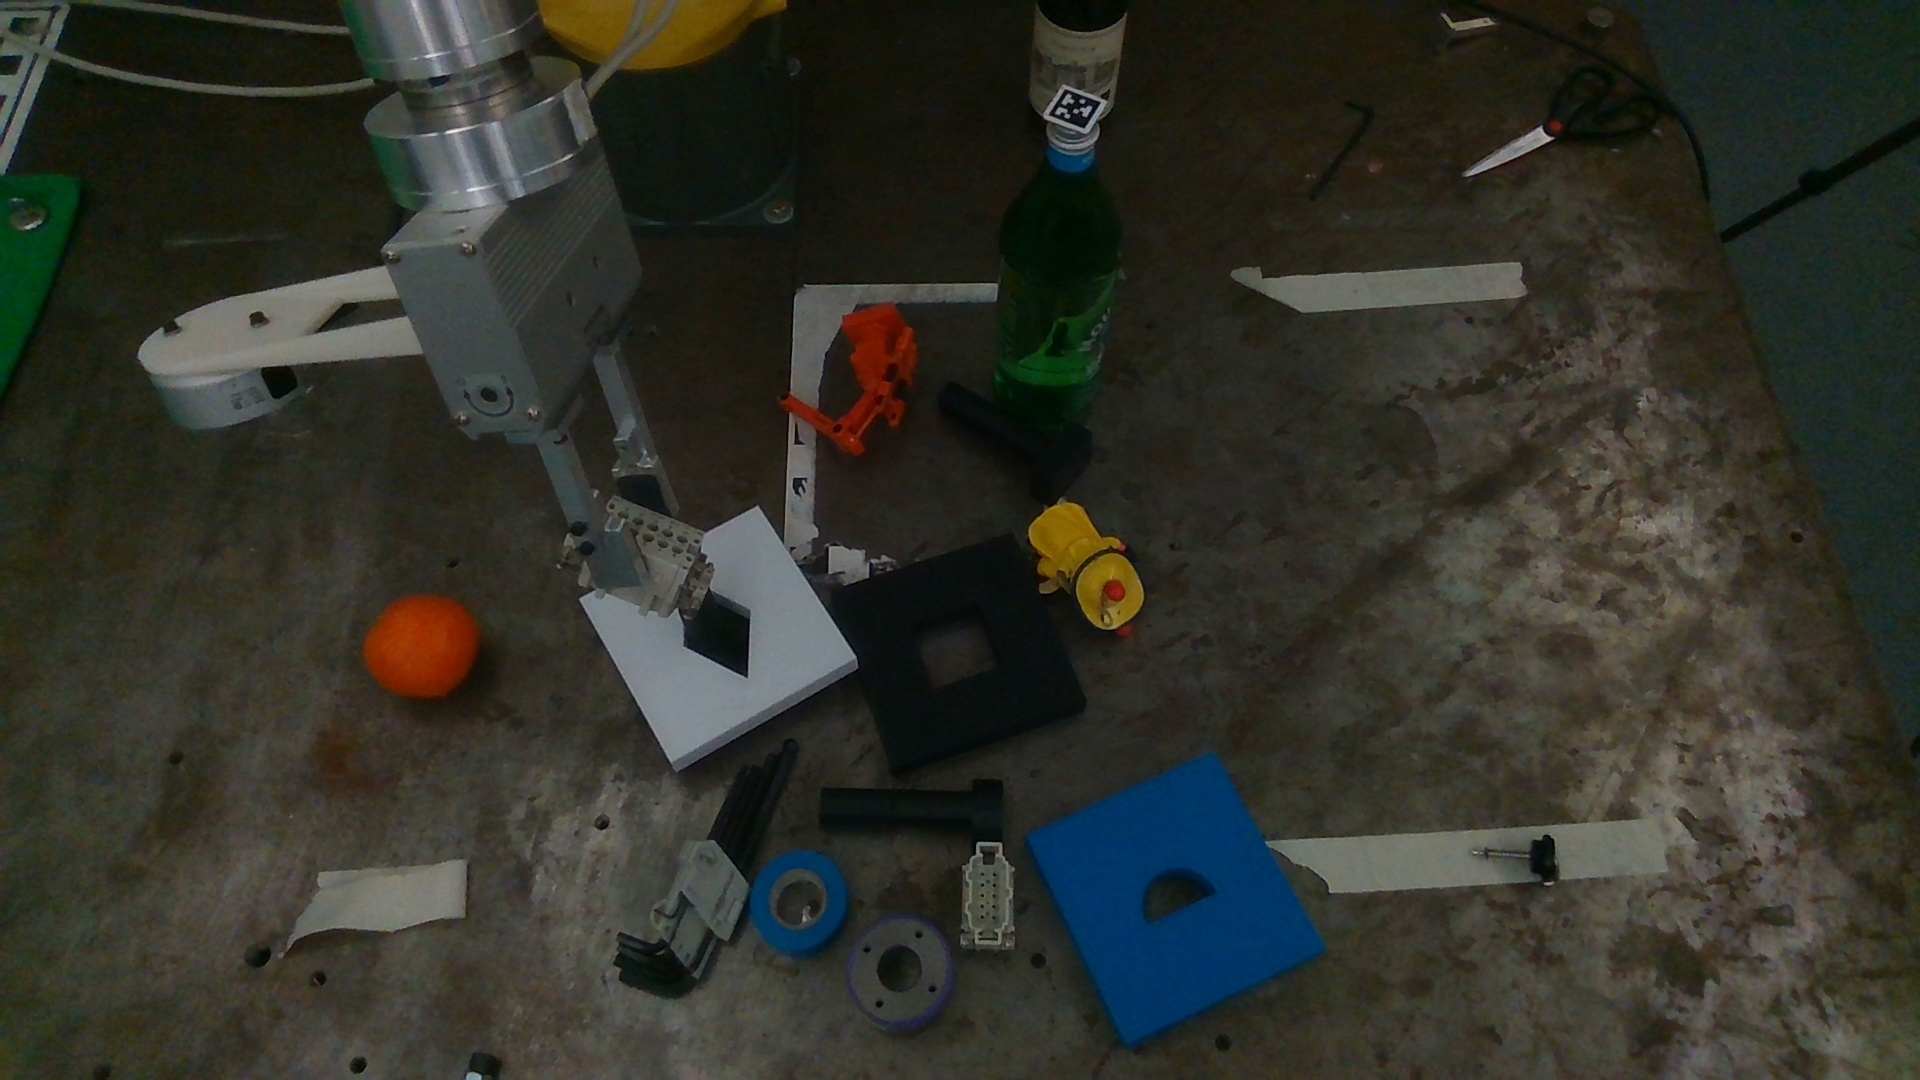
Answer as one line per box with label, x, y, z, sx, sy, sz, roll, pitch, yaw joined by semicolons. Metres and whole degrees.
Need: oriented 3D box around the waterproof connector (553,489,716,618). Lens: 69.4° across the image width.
waterproof connector;-0.143;0.008;0.615;0.069;0.039;0.037;21;35;-12
